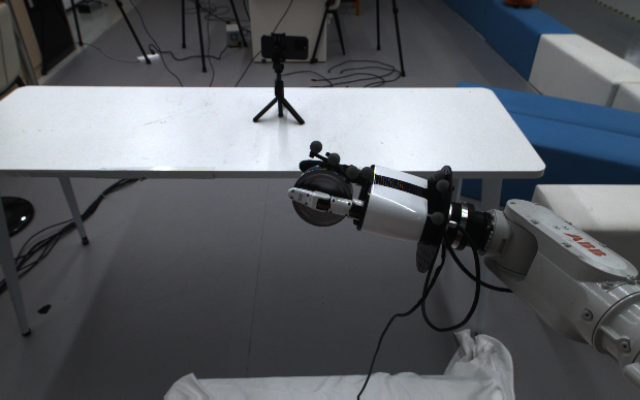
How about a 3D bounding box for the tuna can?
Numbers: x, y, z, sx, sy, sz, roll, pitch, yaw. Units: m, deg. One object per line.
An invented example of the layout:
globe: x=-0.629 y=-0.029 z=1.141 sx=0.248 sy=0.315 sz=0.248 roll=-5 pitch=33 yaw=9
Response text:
tuna can: x=0.006 y=-0.008 z=0.695 sx=0.085 sy=0.085 sz=0.034 roll=7 pitch=17 yaw=7
